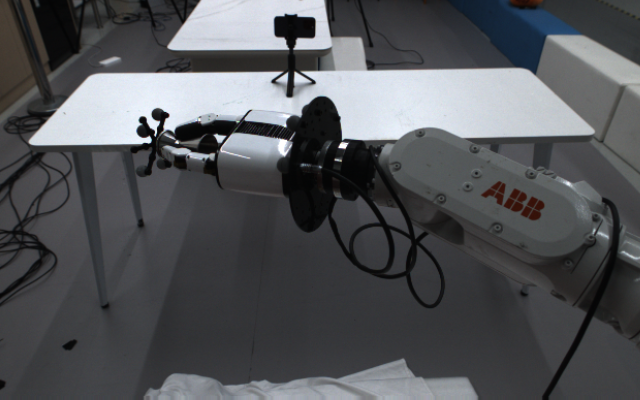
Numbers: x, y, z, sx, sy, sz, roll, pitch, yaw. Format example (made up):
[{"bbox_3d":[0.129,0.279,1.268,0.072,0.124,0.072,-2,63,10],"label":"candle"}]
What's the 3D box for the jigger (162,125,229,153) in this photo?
[{"bbox_3d":[-0.168,-0.071,0.632,0.071,0.043,0.043,10,35,21],"label":"jigger"}]
